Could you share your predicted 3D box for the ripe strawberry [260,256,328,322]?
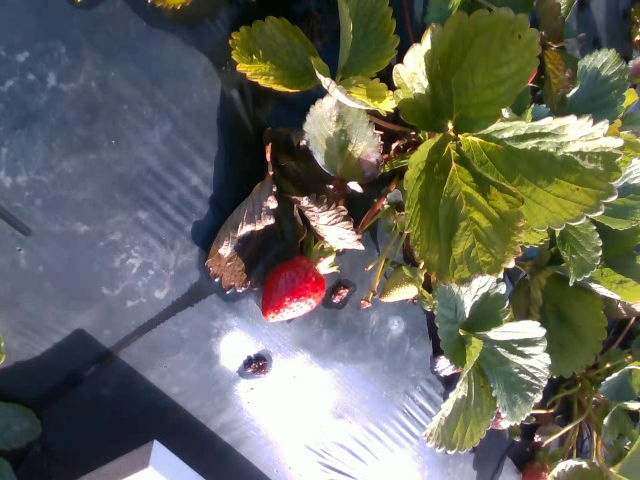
[{"bbox_3d":[-0.021,0.032,0.303,0.037,0.047,0.054,18,45,40],"label":"ripe strawberry"}]
